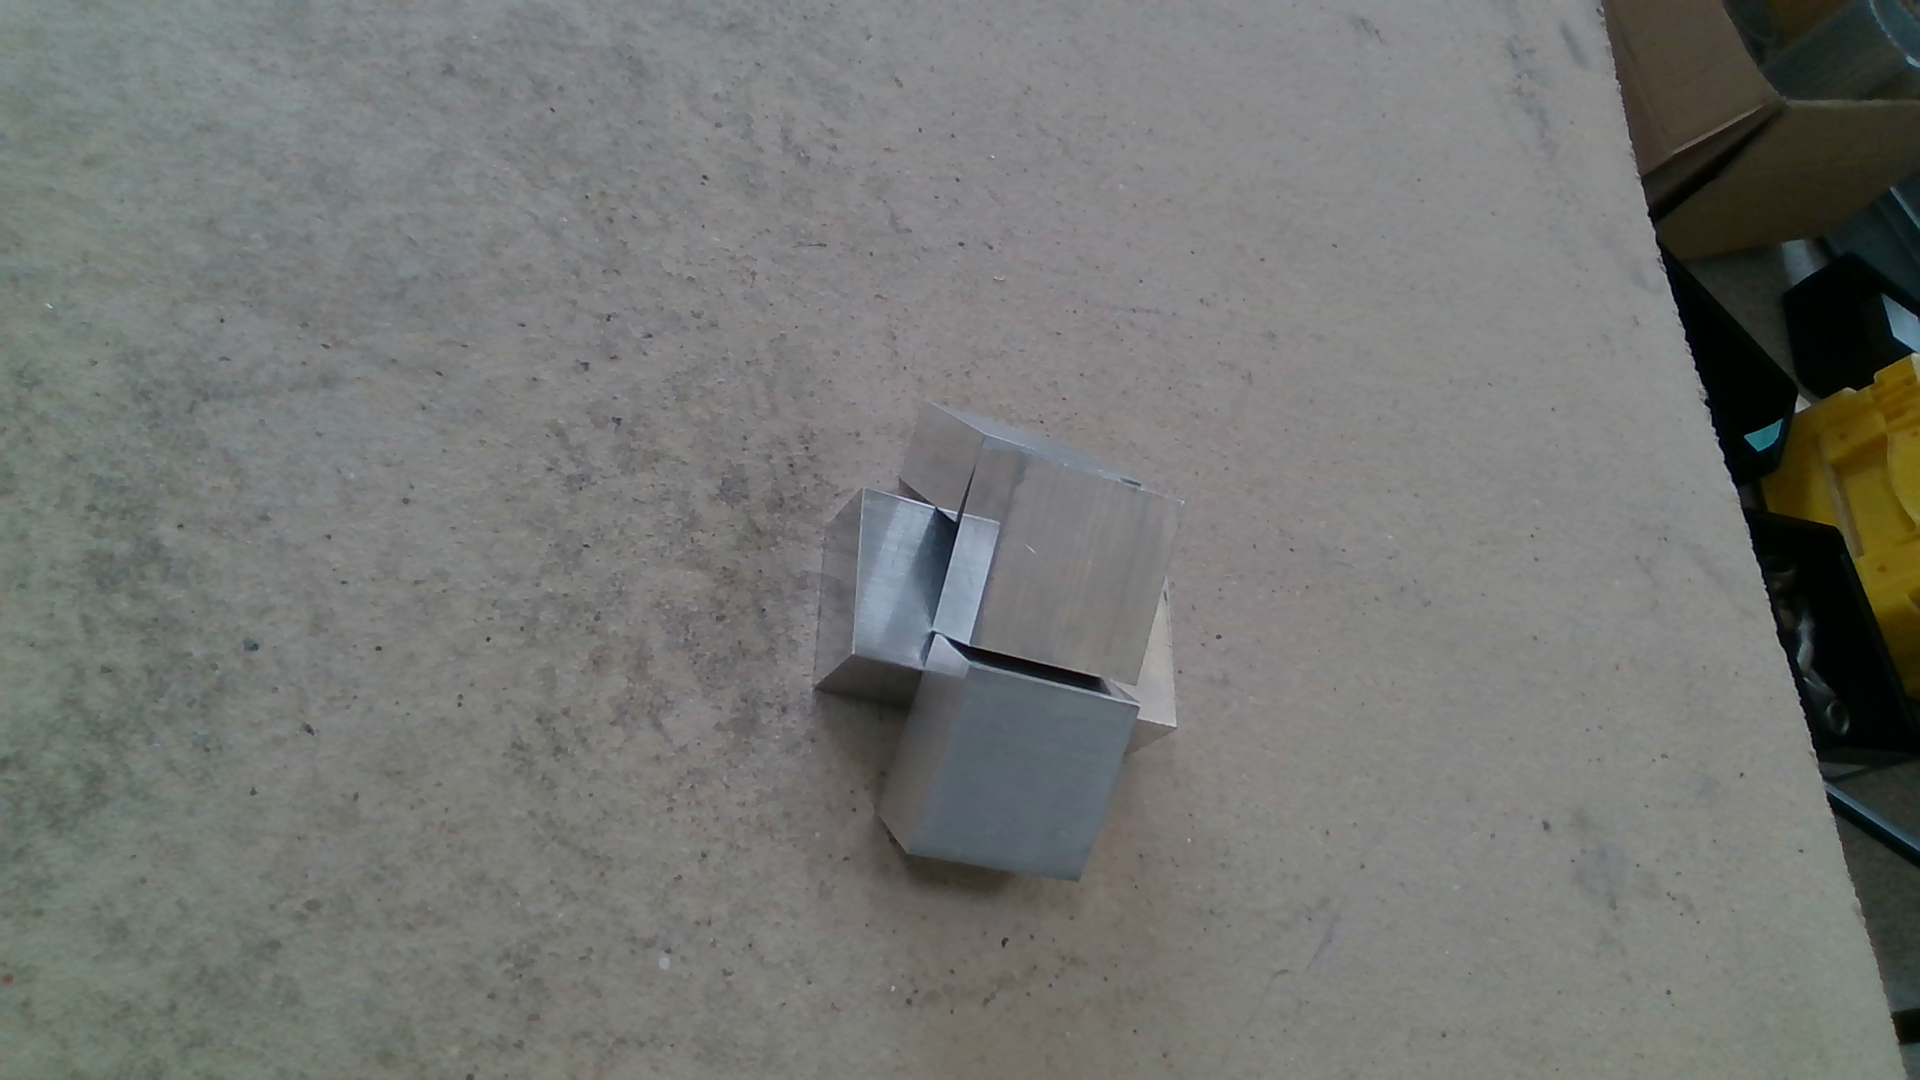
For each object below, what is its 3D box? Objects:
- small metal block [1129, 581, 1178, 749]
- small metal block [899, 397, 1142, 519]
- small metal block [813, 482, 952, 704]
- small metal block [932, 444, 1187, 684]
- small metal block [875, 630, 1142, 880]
[{"bbox_3d":[0.034,0.030,0.398,0.050,0.025,0.050,15,58,-24],"label":"small metal block"},{"bbox_3d":[0.016,-0.018,0.395,0.050,0.050,0.025,15,100,-24],"label":"small metal block"},{"bbox_3d":[-0.011,0.017,0.377,0.050,0.025,0.050,15,58,-24],"label":"small metal block"},{"bbox_3d":[0.026,0.006,0.359,0.050,0.025,0.050,15,89,-24],"label":"small metal block"},{"bbox_3d":[0.012,0.056,0.355,0.050,0.025,0.050,15,98,-24],"label":"small metal block"}]
